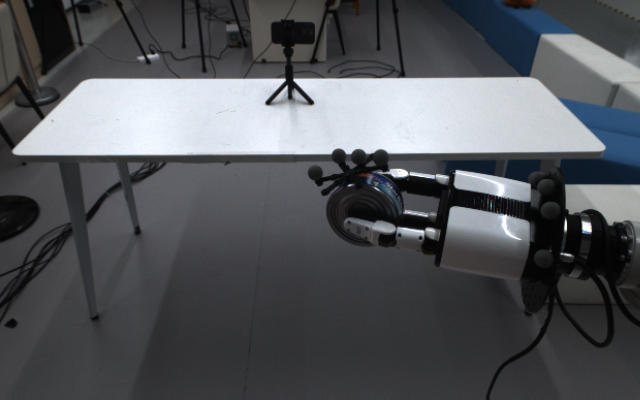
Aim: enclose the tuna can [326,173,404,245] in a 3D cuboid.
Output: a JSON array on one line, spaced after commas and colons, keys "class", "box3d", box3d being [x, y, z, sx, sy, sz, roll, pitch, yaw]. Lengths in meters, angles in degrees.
[{"class": "tuna can", "box3d": [0.054, 0.010, 0.558, 0.085, 0.085, 0.034, 11, 34, 13]}]
